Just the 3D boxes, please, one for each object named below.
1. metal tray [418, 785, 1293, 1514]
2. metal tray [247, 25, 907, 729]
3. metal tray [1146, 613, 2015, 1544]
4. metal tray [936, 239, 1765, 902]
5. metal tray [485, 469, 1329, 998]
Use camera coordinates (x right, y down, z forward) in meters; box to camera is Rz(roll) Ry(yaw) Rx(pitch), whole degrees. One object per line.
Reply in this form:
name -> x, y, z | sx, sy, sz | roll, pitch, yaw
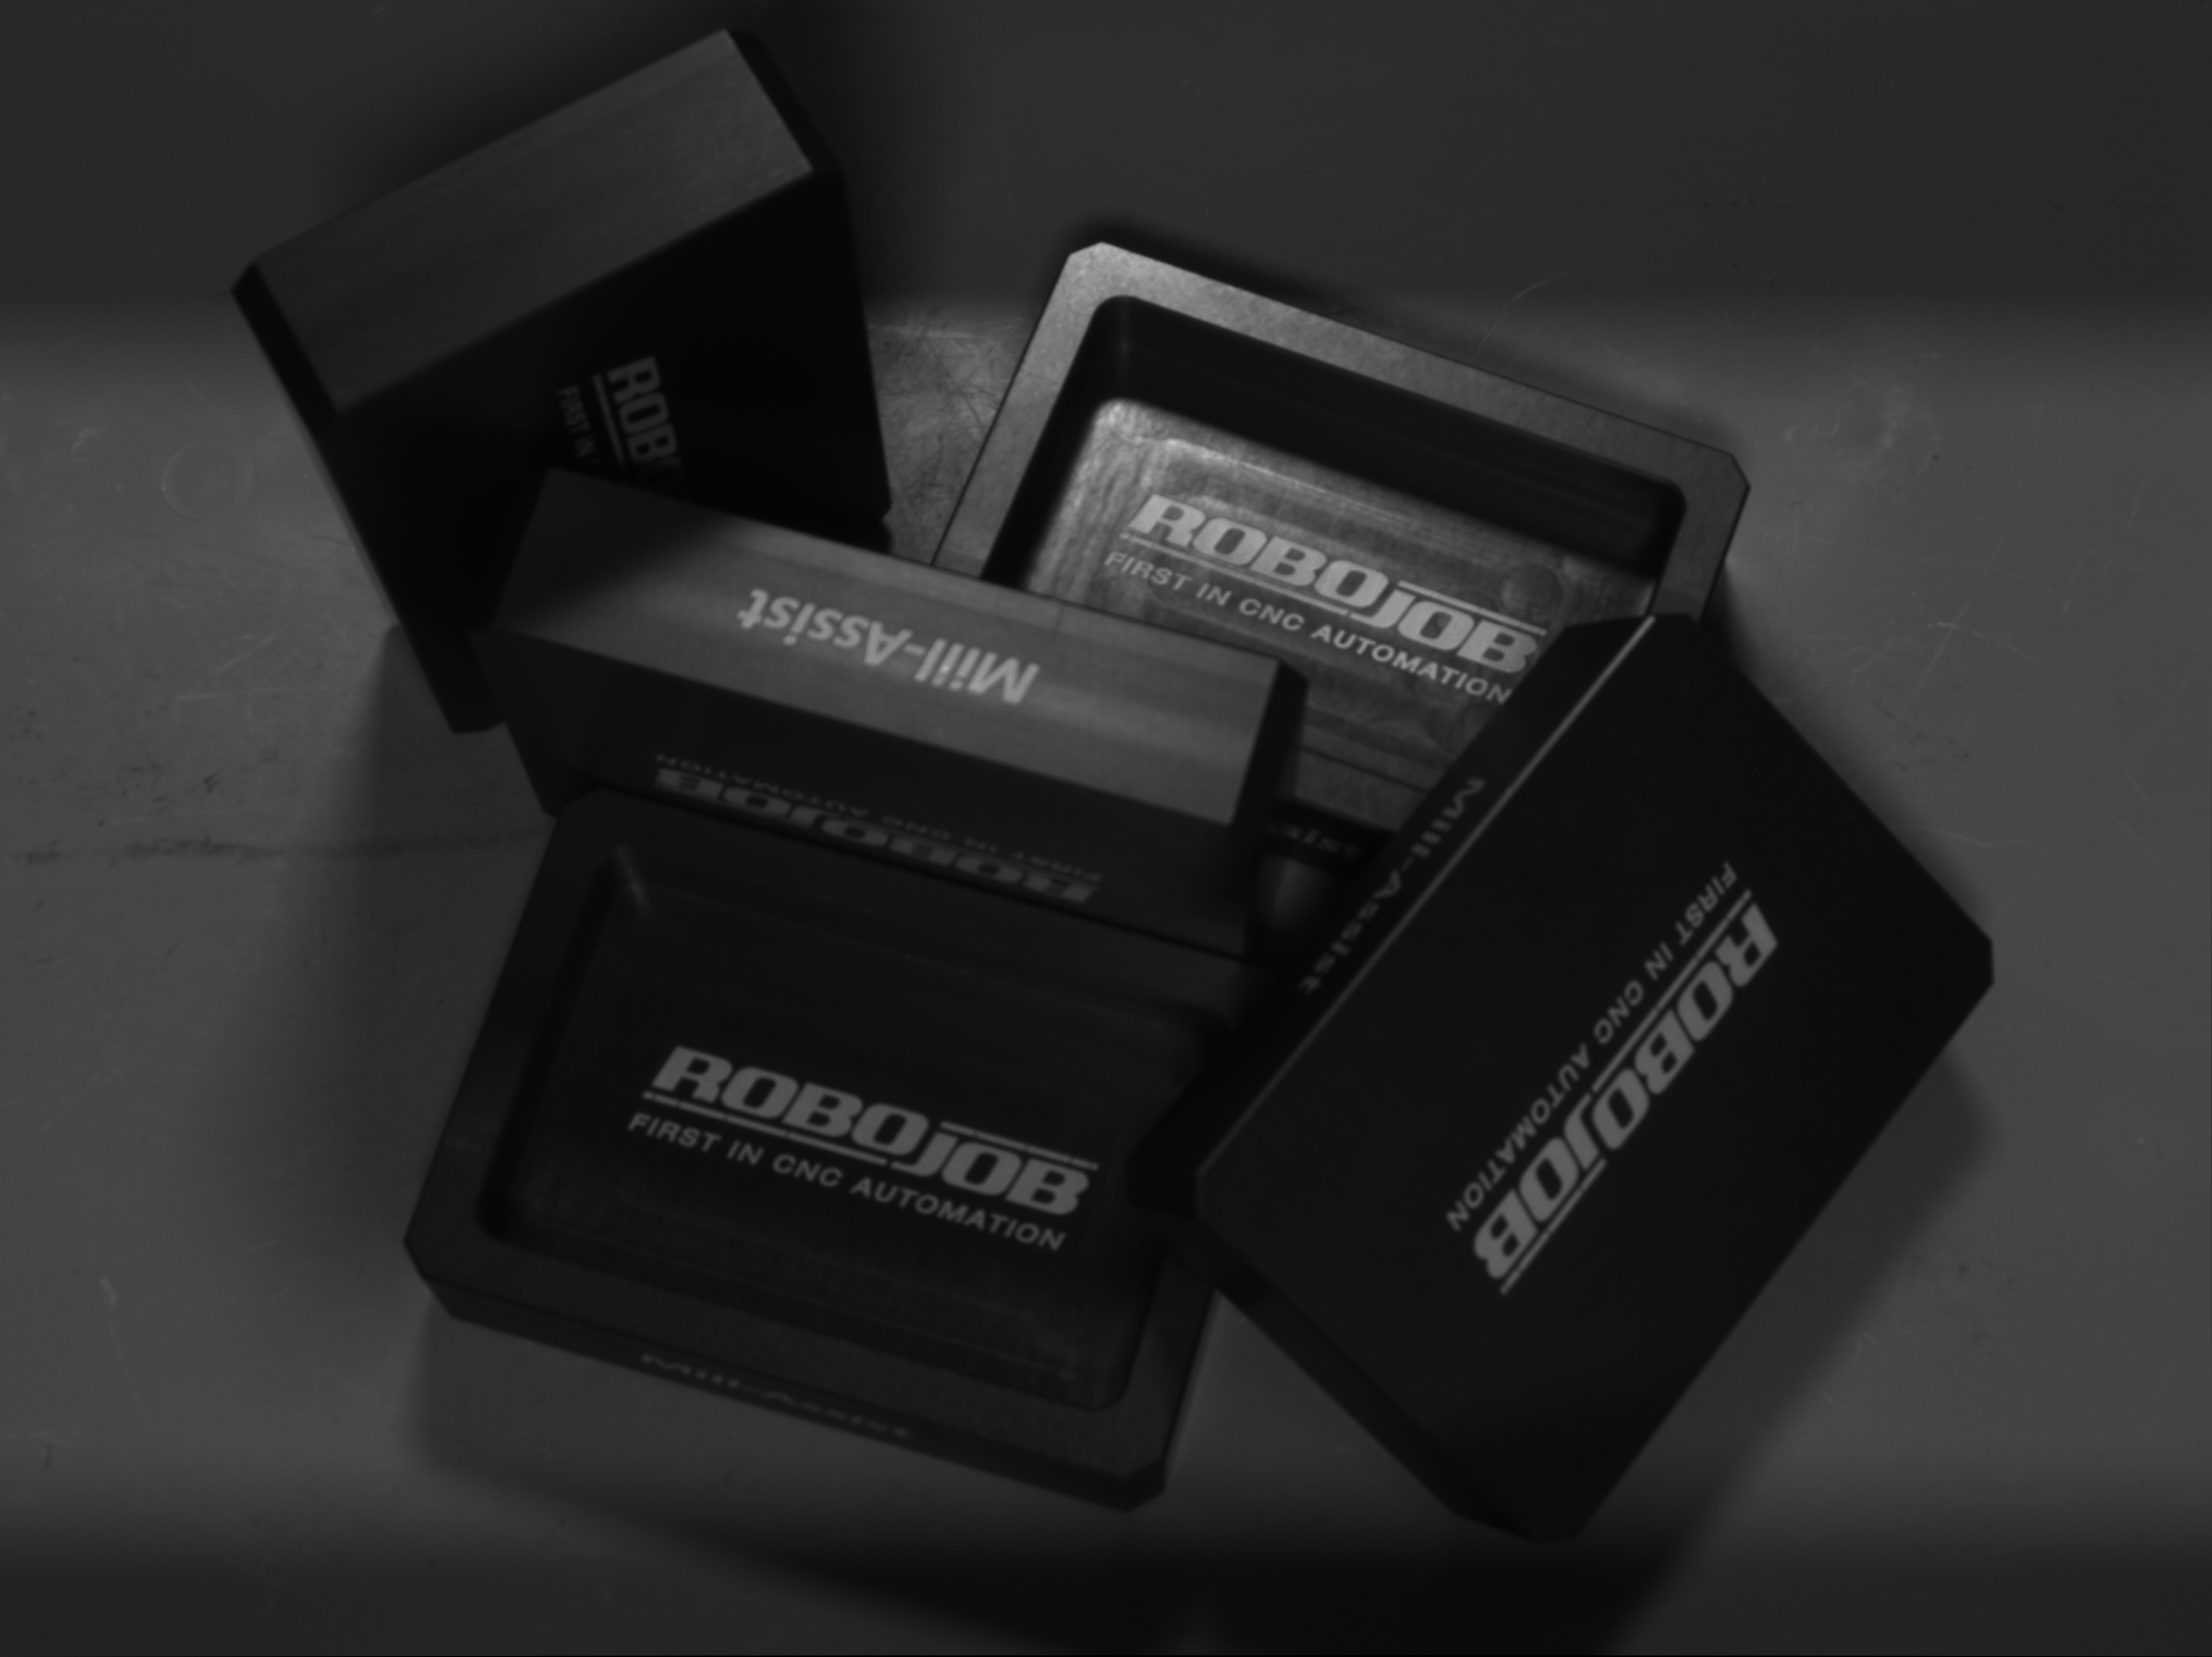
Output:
metal tray -> -0.039, 0.054, 0.620 | 0.130, 0.030, 0.090 | 15, 71, 5
metal tray -> -0.083, -0.071, 0.613 | 0.090, 0.130, 0.030 | -29, 72, -9
metal tray -> 0.080, 0.040, 0.605 | 0.090, 0.030, 0.130 | 45, 74, -15
metal tray -> 0.042, -0.043, 0.656 | 0.130, 0.030, 0.090 | 20, 71, 7
metal tray -> -0.031, -0.013, 0.613 | 0.130, 0.090, 0.030 | 15, 71, 5
